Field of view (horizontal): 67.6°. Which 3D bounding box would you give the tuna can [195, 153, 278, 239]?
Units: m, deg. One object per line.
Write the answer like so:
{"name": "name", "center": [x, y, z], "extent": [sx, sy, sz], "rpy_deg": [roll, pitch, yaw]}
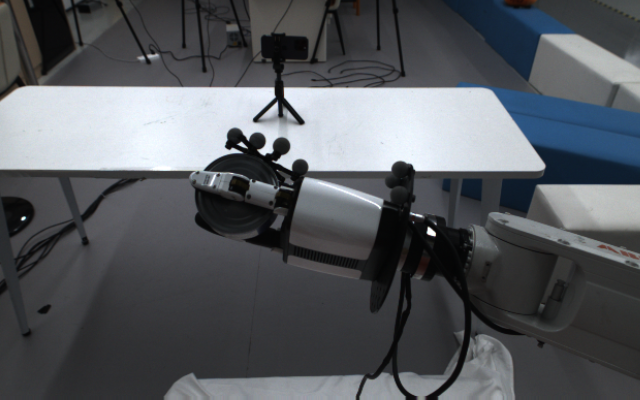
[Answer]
{"name": "tuna can", "center": [-0.082, -0.004, 0.504], "extent": [0.085, 0.034, 0.085], "rpy_deg": [0, 72, 0]}
